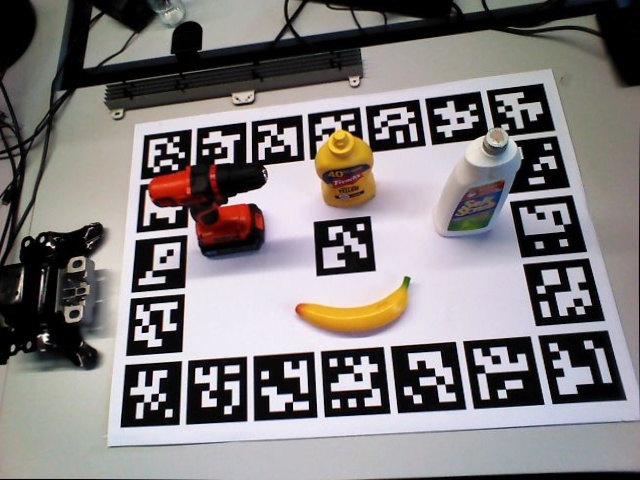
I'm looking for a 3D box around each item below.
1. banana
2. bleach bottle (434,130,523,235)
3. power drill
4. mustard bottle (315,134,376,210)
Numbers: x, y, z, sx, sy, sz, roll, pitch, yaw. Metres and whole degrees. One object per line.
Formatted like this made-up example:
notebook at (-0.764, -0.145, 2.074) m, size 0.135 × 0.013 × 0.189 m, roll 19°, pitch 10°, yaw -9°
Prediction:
banana at (0.057, 0.109, 0.823) m, size 0.198 × 0.039 × 0.074 m, roll -11°, pitch 70°, yaw 7°
bleach bottle at (0.230, -0.082, 0.763) m, size 0.103 × 0.251 × 0.067 m, roll 3°, pitch 70°, yaw 9°
power drill at (-0.148, -0.064, 0.813) m, size 0.185 × 0.187 × 0.057 m, roll -12°, pitch 68°, yaw 8°
mustard bottle at (0.042, -0.113, 0.837) m, size 0.096 × 0.192 × 0.058 m, roll -12°, pitch 68°, yaw 2°
